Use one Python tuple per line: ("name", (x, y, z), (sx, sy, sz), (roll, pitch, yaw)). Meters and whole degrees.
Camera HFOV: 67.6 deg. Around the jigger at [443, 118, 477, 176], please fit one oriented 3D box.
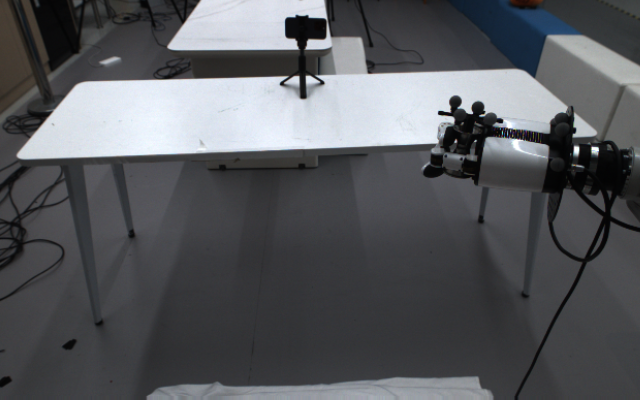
("jigger", (0.206, -0.071, 0.701), (0.043, 0.071, 0.043), (6, 26, -3))
